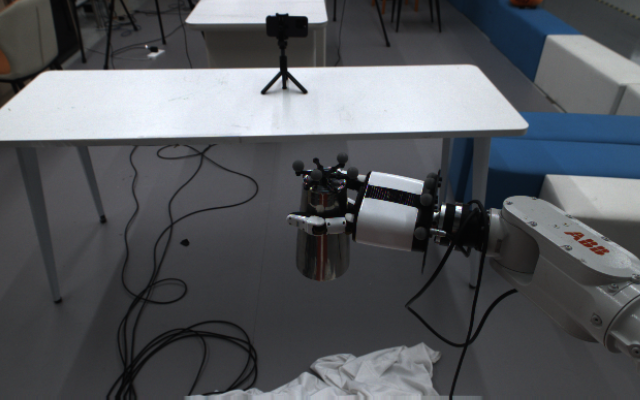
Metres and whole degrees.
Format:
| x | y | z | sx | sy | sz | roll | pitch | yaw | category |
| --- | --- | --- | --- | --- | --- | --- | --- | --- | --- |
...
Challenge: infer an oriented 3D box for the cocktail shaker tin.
| x | y | z | sx | sy | sz | roll | pitch | yaw | category |
| --- | --- | --- | --- | --- | --- | --- | --- | --- | --- |
| 0.009 | 0.033 | 0.768 | 0.093 | 0.170 | 0.093 | 1 | 39 | -1 | cocktail shaker tin |
